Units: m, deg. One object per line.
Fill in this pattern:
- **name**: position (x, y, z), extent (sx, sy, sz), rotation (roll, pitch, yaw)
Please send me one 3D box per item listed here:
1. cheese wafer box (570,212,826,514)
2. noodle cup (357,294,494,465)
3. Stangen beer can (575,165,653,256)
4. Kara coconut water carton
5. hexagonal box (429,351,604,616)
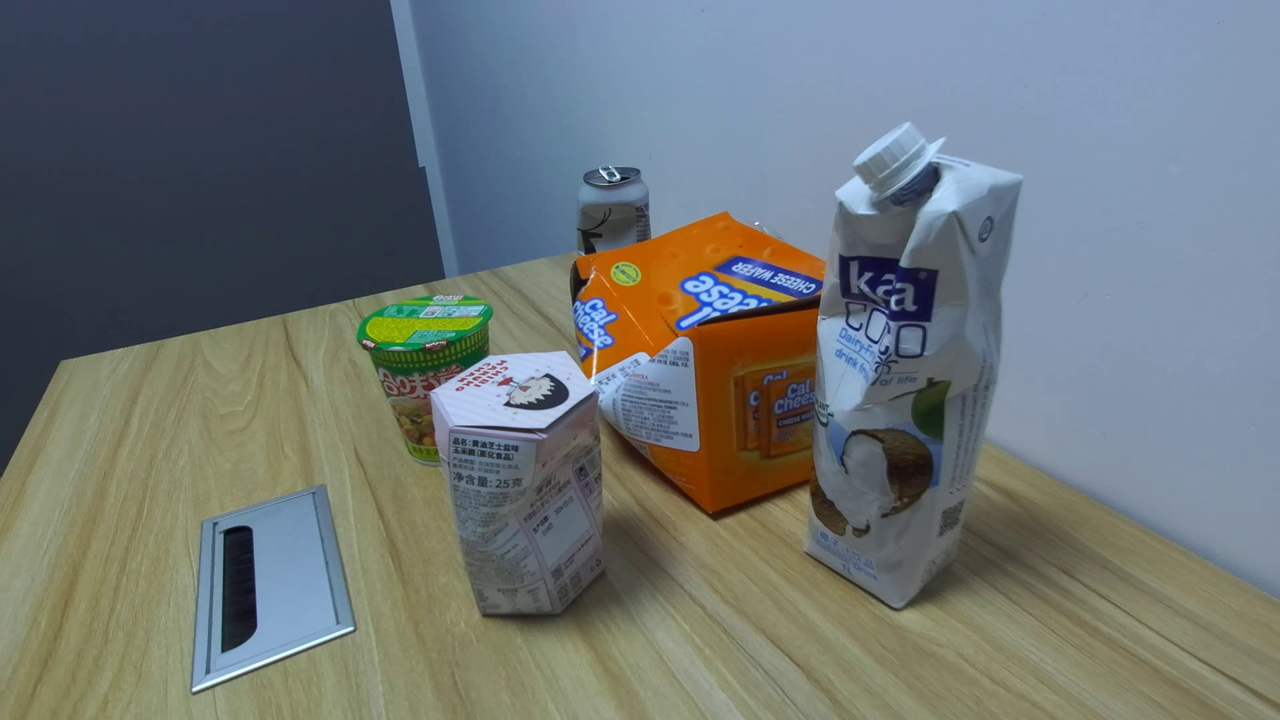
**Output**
- **cheese wafer box**: position (0.047, -0.012, 0.540), extent (0.192, 0.145, 0.218), rotation (-15, 29, -23)
- **noodle cup**: position (-0.159, 0.017, 0.553), extent (0.097, 0.110, 0.097), rotation (-1, 30, 1)
- **Stangen beer can**: position (-0.022, -0.101, 0.688), extent (0.070, 0.173, 0.070), rotation (-20, 33, -24)
- **Kara coconut water carton**: position (0.134, 0.006, 0.369), extent (0.078, 0.256, 0.083), rotation (-18, 30, -22)
- **hexagonal box**: position (-0.061, 0.071, 0.404), extent (0.091, 0.134, 0.090), rotation (-10, 30, -13)
